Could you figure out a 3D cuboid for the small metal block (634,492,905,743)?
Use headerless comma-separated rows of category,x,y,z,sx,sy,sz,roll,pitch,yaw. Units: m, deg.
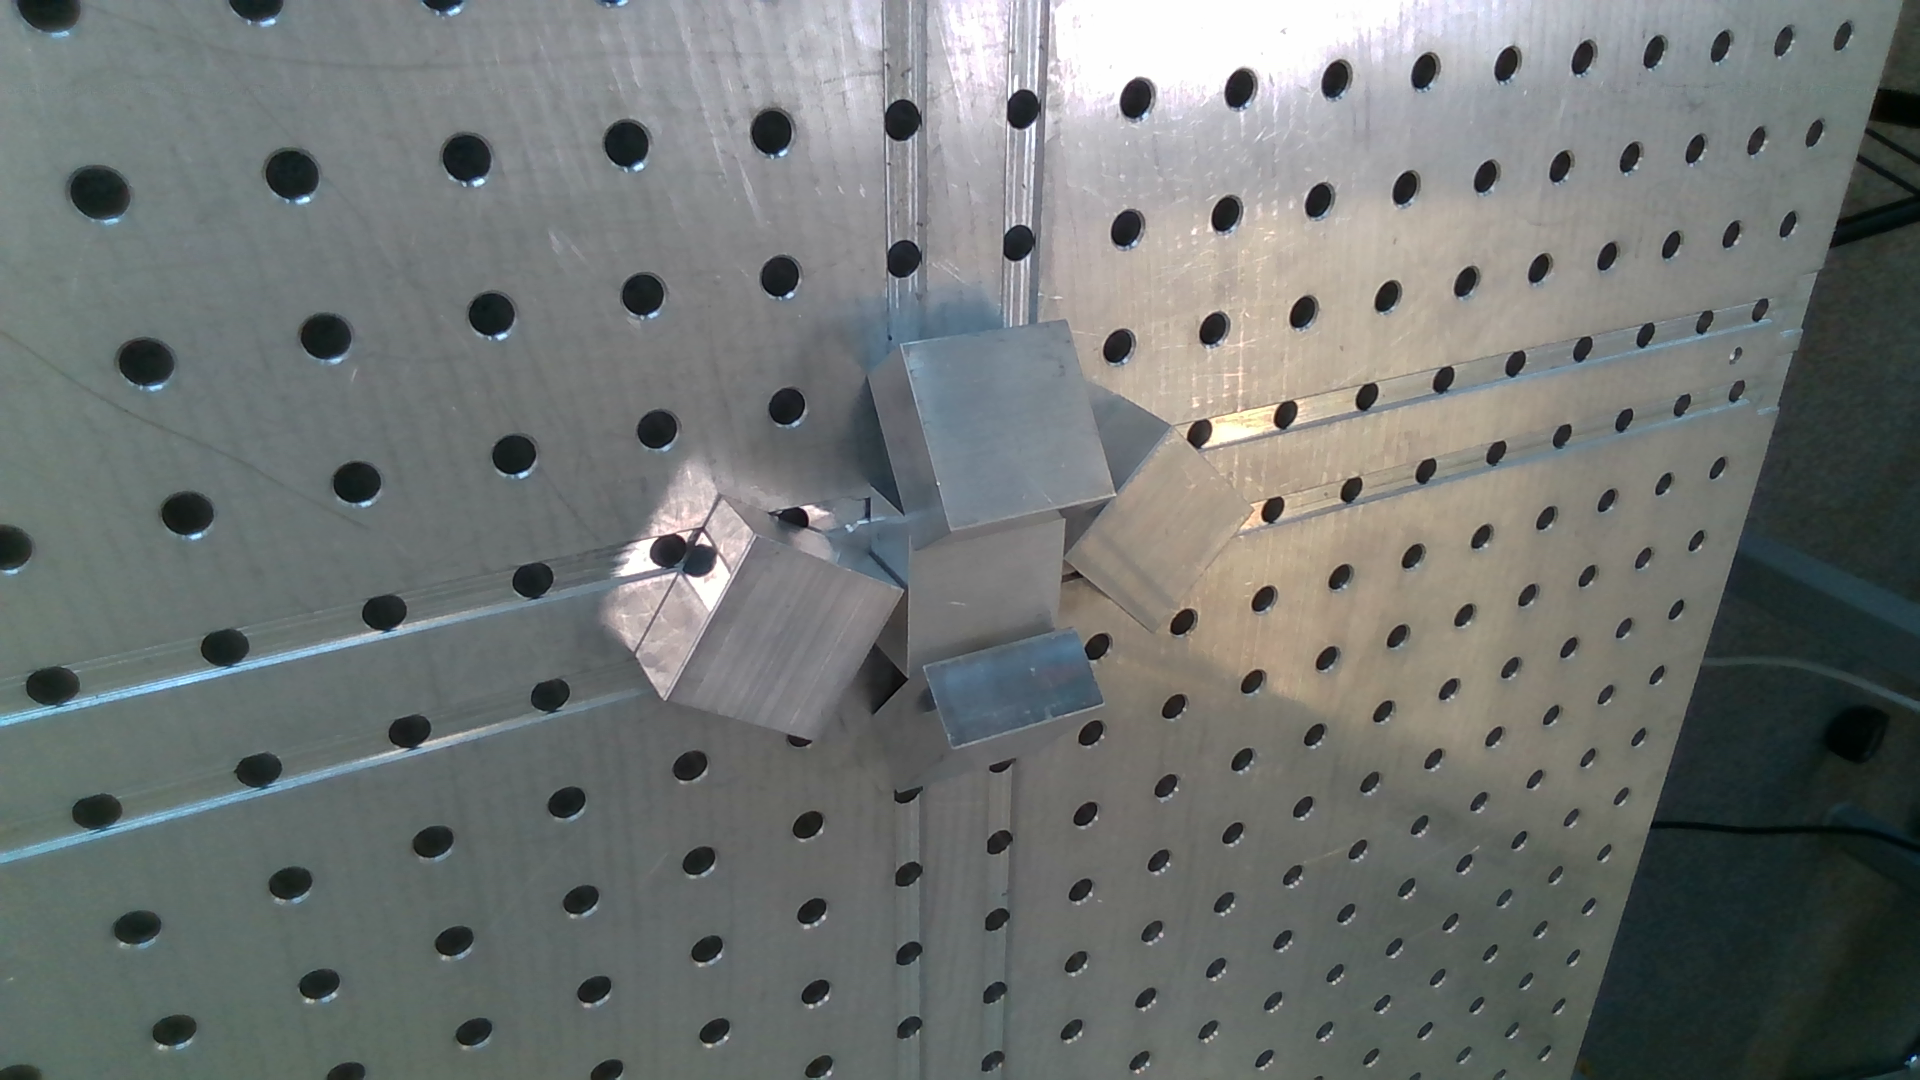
small metal block,-0.051,0.022,0.371,0.050,0.025,0.050,23,100,-37

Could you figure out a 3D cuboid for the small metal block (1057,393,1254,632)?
small metal block,0.054,-0.008,0.421,0.050,0.025,0.050,-51,130,1

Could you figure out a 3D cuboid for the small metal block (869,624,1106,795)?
small metal block,0.007,0.050,0.406,0.050,0.025,0.050,-12,161,-26

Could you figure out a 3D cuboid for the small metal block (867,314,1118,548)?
small metal block,0.008,-0.029,0.365,0.050,0.025,0.050,-12,84,-25

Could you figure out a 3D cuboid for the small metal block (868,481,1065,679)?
small metal block,0.002,0.007,0.396,0.050,0.025,0.050,-14,121,-26
